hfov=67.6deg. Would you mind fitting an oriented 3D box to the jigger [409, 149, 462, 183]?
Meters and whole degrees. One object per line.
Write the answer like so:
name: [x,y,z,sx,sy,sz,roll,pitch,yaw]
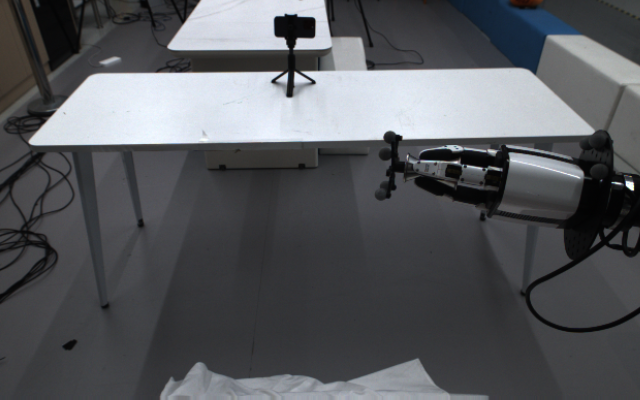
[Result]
jigger: [0.153,-0.042,0.634,0.071,0.043,0.043,8,35,15]
